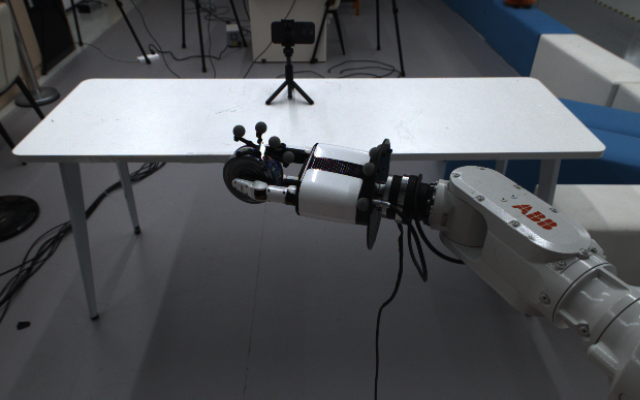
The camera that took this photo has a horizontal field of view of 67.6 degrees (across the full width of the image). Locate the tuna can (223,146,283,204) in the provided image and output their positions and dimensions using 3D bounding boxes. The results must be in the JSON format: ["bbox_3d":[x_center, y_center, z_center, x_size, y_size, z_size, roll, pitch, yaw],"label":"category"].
[{"bbox_3d":[-0.097,-0.031,0.717,0.085,0.085,0.034,12,35,14],"label":"tuna can"}]
